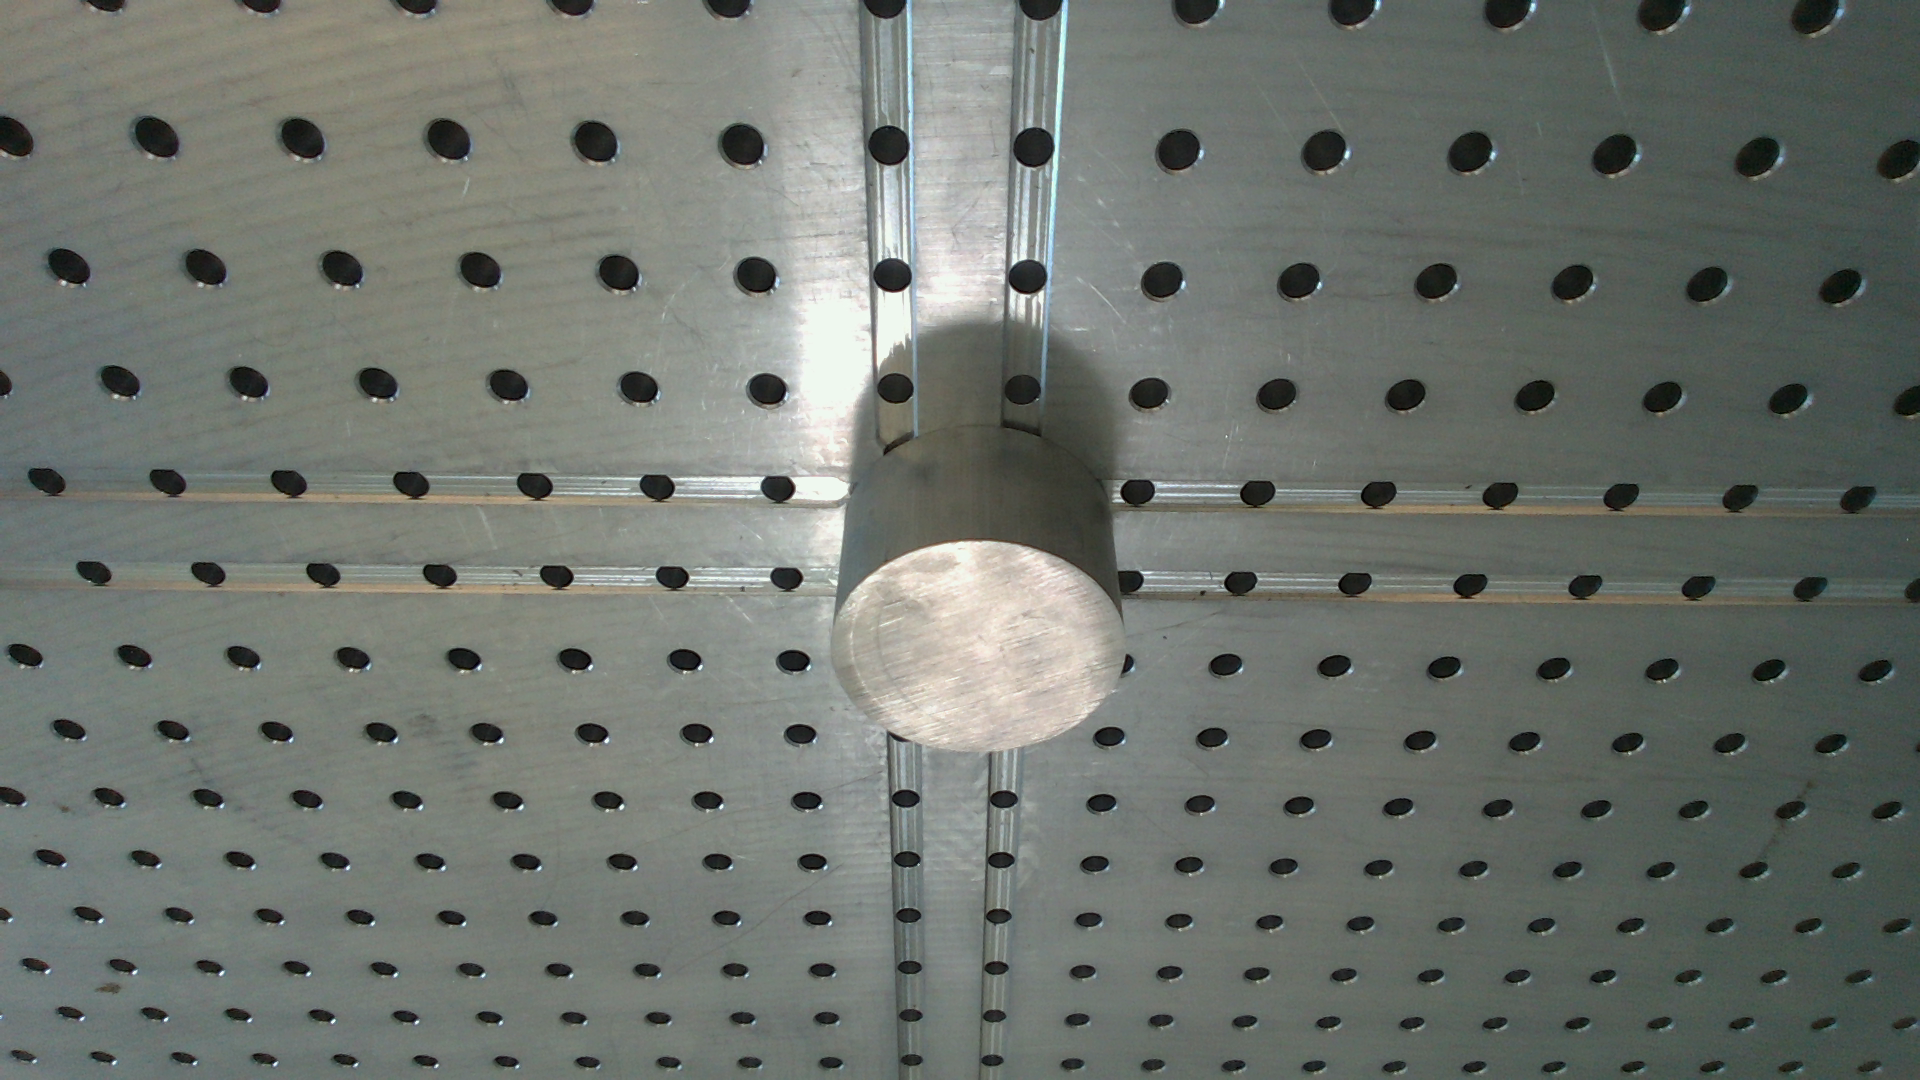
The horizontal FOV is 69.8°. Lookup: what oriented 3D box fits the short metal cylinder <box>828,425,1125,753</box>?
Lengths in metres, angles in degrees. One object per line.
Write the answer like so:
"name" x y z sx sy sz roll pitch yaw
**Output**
"short metal cylinder" 0.005 0.015 0.389 0.080 0.050 0.080 0 130 0
